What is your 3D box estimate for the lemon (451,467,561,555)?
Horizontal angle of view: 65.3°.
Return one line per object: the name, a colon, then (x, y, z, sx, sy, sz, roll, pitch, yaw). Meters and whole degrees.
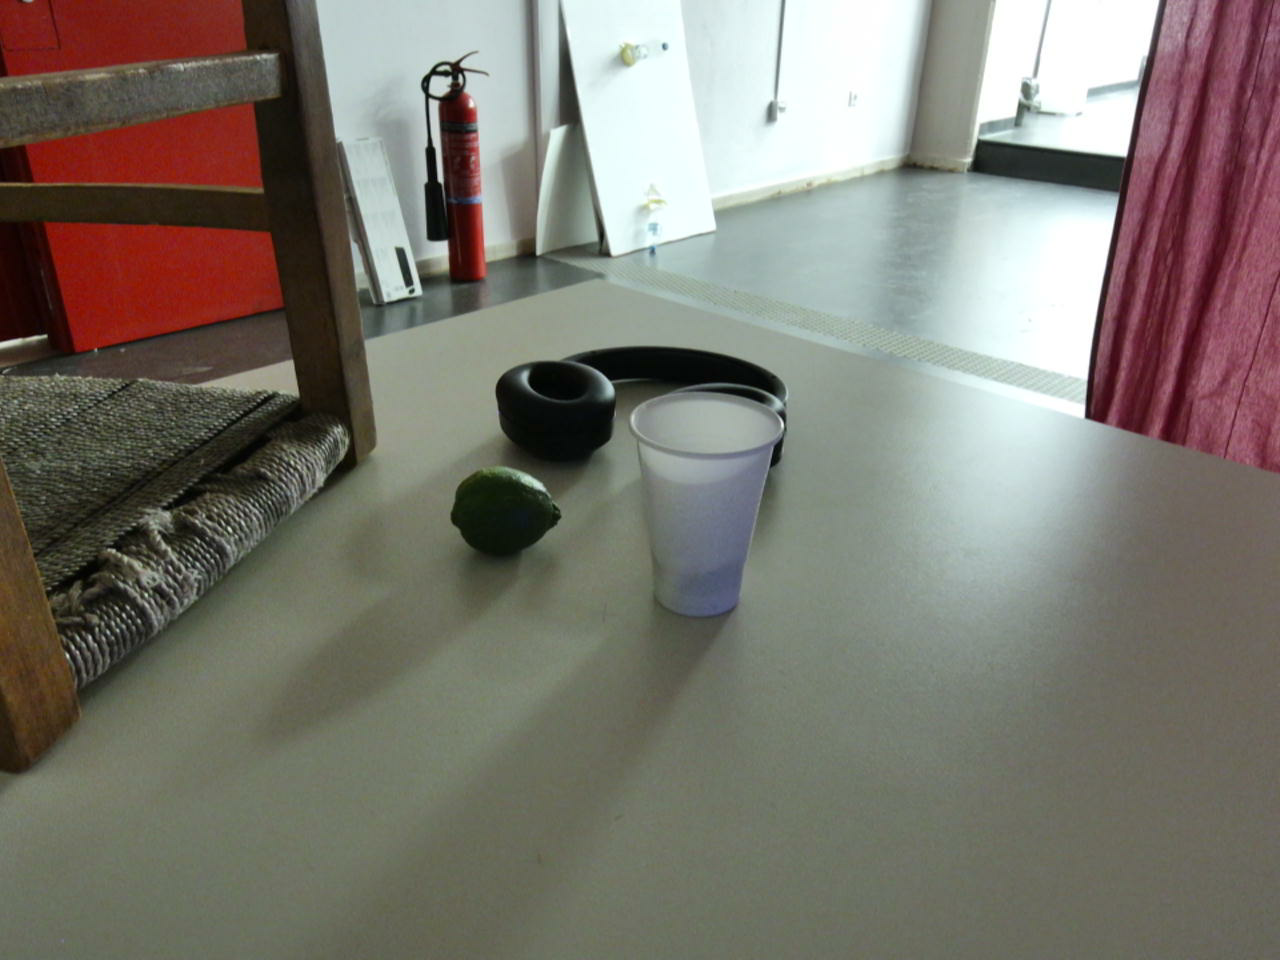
lemon: (-0.081, 0.017, 0.579, 0.054, 0.051, 0.057, 19, 31, 34)
